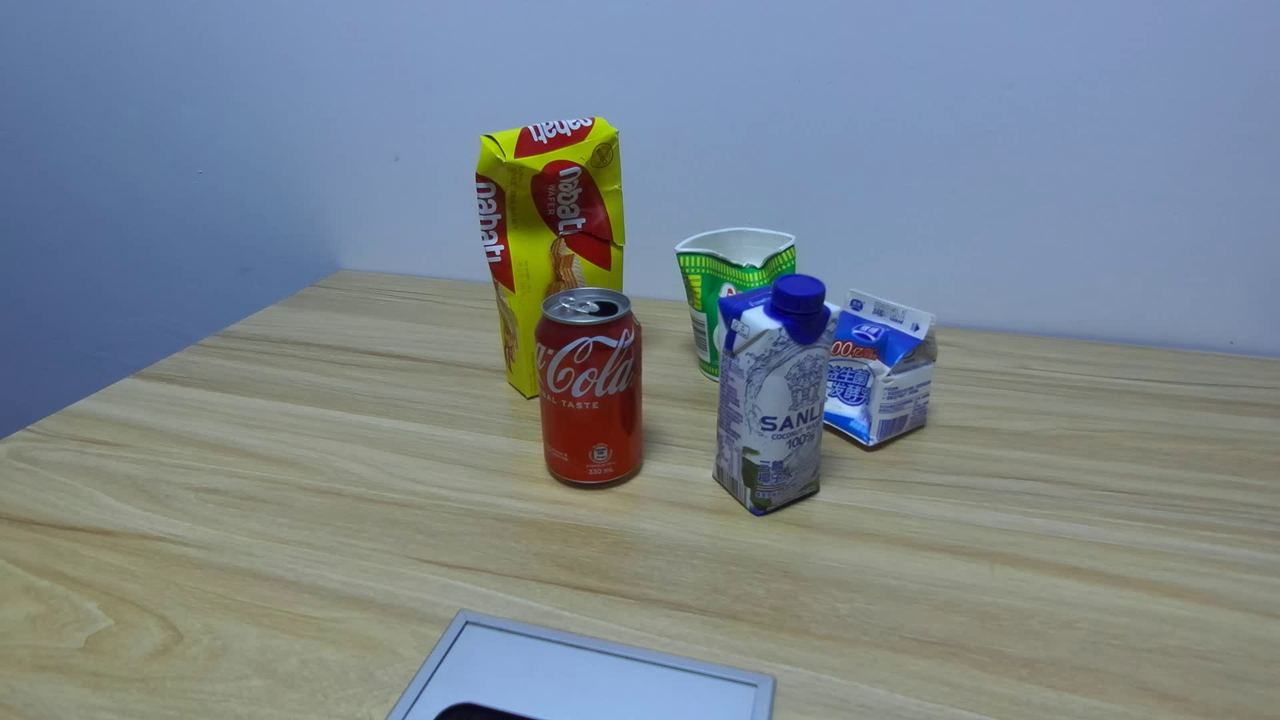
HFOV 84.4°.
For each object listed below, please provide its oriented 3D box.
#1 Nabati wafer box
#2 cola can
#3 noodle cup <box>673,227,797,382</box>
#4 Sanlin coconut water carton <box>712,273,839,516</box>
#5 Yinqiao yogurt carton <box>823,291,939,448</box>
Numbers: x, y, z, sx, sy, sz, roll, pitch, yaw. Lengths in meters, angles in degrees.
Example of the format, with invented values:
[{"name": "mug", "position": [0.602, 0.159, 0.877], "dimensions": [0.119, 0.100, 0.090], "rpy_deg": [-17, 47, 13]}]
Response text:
[{"name": "Nabati wafer box", "position": [-0.066, -0.076, 0.543], "dimensions": [0.107, 0.204, 0.042], "rpy_deg": [-16, 31, -30]}, {"name": "cola can", "position": [-0.031, 0.017, 0.454], "dimensions": [0.068, 0.120, 0.068], "rpy_deg": [0, 26, 0]}, {"name": "noodle cup", "position": [0.084, -0.045, 0.584], "dimensions": [0.082, 0.122, 0.075], "rpy_deg": [2, 19, 24]}, {"name": "Sanlin coconut water carton", "position": [0.080, 0.017, 0.422], "dimensions": [0.061, 0.144, 0.060], "rpy_deg": [-16, 30, -27]}, {"name": "Yinqiao yogurt carton", "position": [0.167, 0.001, 0.509], "dimensions": [0.071, 0.094, 0.077], "rpy_deg": [-14, 30, -35]}]
